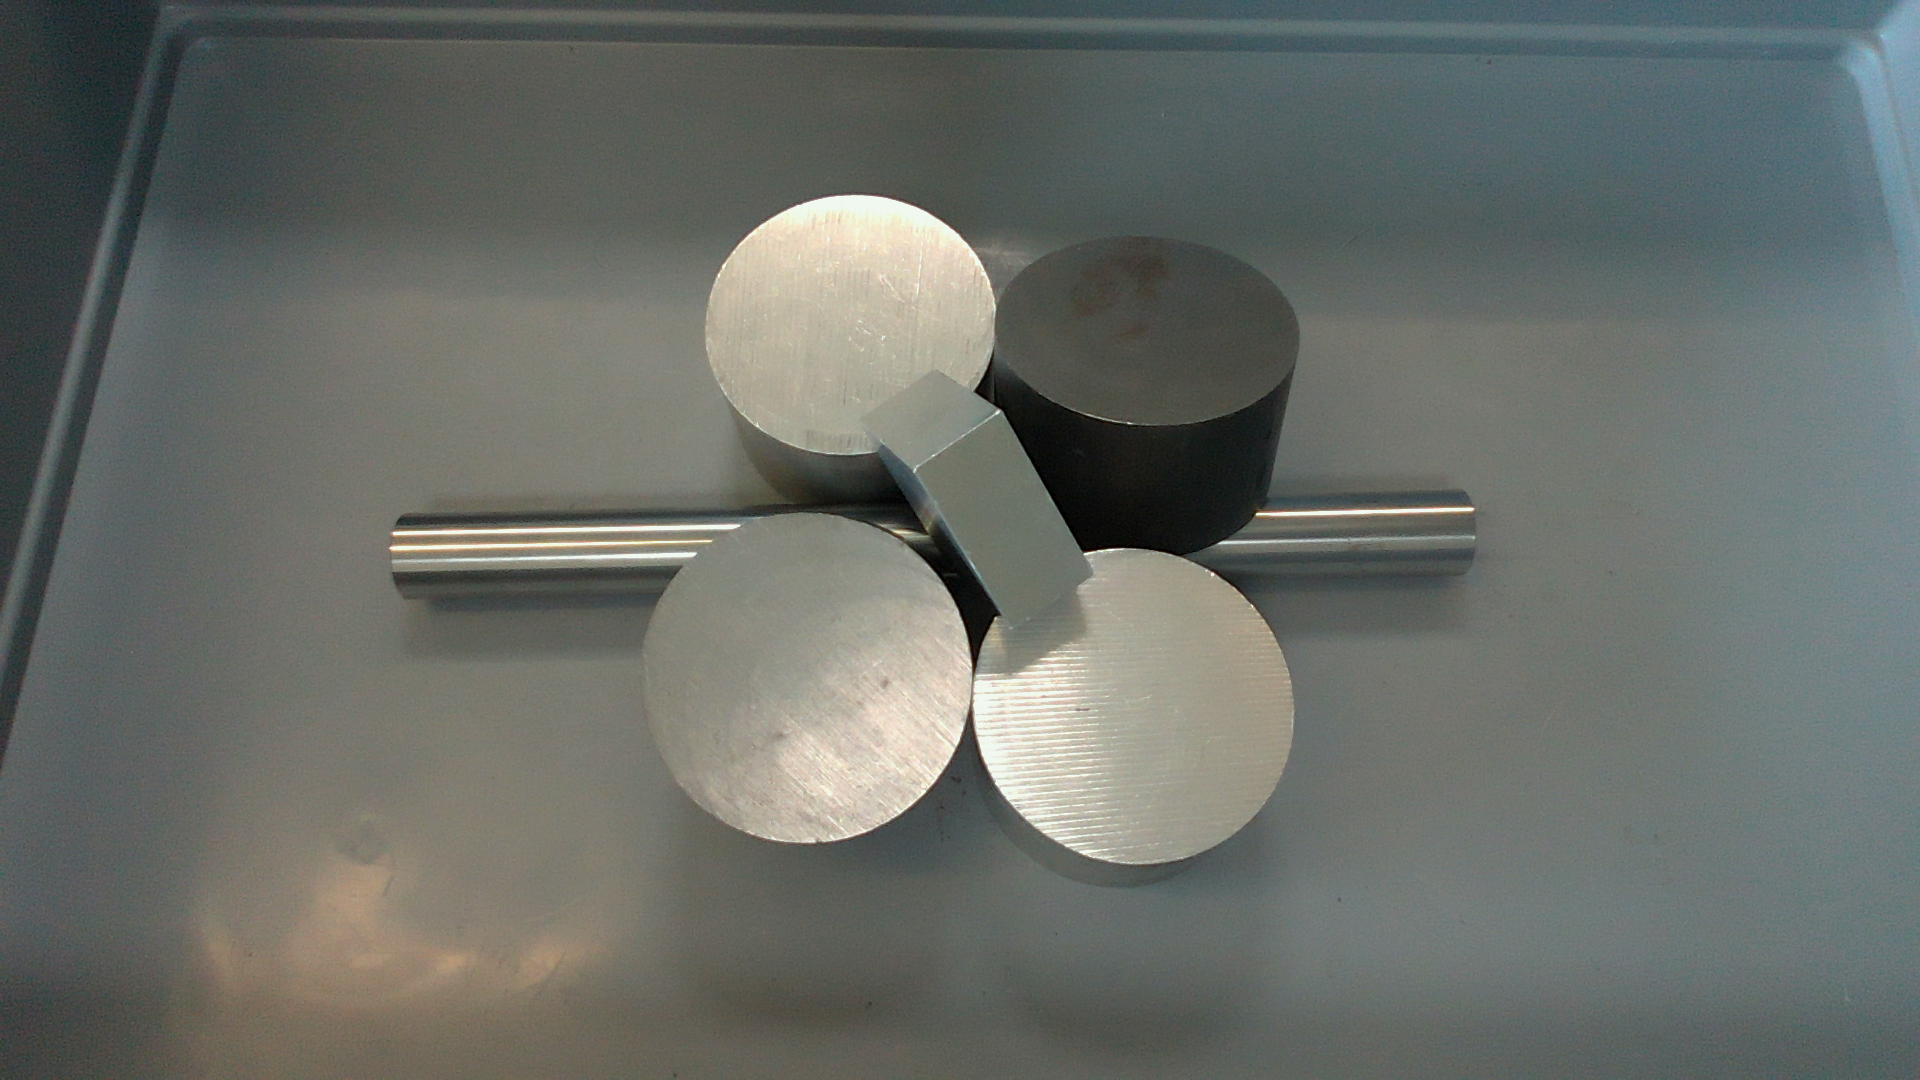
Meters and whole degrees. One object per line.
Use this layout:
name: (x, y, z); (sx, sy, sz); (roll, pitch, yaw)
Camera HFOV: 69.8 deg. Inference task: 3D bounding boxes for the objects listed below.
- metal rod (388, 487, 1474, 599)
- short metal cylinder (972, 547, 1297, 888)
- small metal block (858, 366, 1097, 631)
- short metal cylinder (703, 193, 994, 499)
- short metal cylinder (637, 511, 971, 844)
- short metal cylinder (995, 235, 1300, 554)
metal rod: (-0.007, 0.001, 0.393); (0.300, 0.025, 0.025); (-1, 70, -1)
short metal cylinder: (0.043, 0.048, 0.362); (0.080, 0.050, 0.080); (0, 70, 0)
small metal block: (0.003, -0.012, 0.346); (0.025, 0.050, 0.050); (-35, 116, -6)
short metal cylinder: (-0.030, -0.052, 0.399); (0.080, 0.050, 0.080); (0, 70, 0)
short metal cylinder: (-0.038, 0.033, 0.355); (0.080, 0.050, 0.080); (0, 90, -1)
short metal cylinder: (0.049, -0.040, 0.381); (0.080, 0.050, 0.080); (0, 47, 0)
